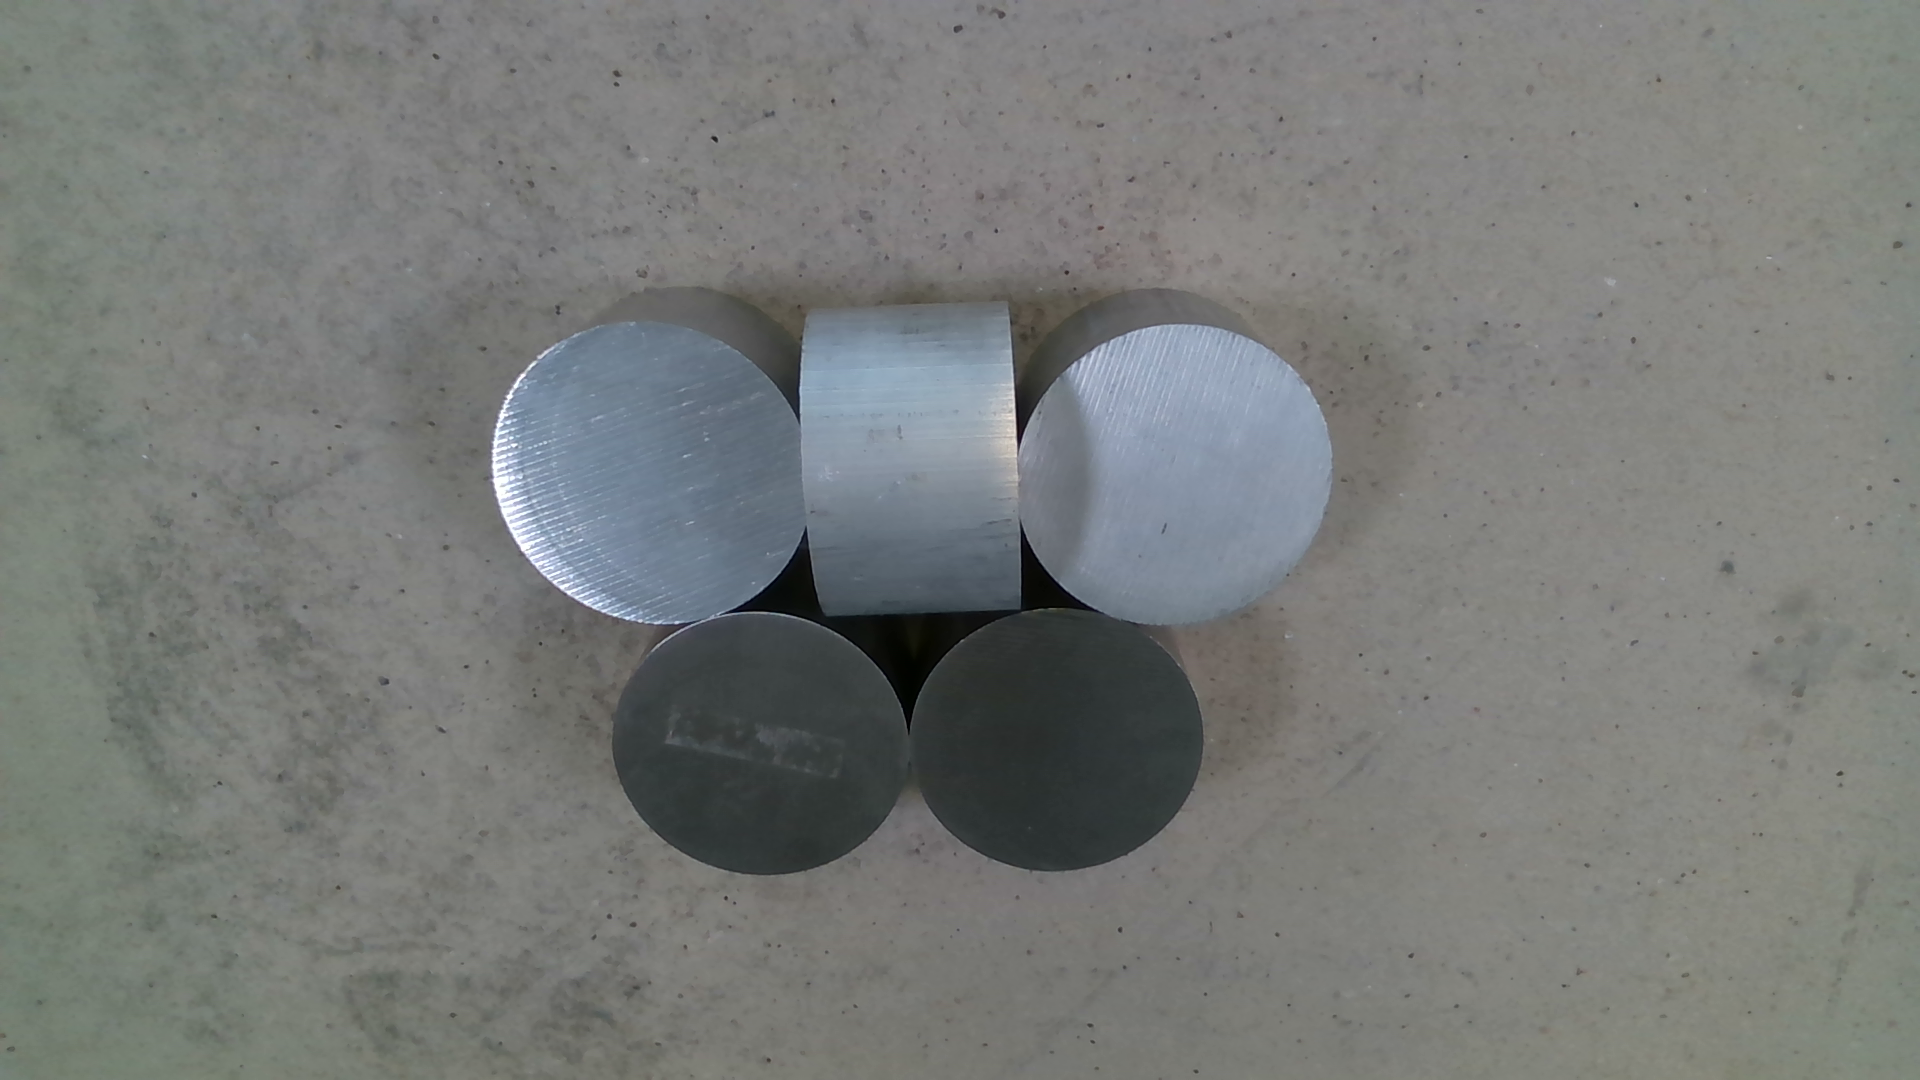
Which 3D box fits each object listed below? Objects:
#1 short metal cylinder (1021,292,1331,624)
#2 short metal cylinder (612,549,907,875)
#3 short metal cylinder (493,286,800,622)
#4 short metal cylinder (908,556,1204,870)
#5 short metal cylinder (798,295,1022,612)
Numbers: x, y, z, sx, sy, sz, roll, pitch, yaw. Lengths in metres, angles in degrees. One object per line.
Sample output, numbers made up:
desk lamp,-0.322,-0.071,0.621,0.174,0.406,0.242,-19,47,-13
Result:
short metal cylinder,0.054,-0.024,0.372,0.080,0.050,0.080,0,109,0
short metal cylinder,-0.054,0.048,0.397,0.080,0.050,0.080,0,109,0
short metal cylinder,-0.078,-0.024,0.371,0.080,0.050,0.080,0,109,0
short metal cylinder,0.026,0.047,0.397,0.080,0.050,0.080,0,110,0
short metal cylinder,-0.011,-0.022,0.356,0.050,0.080,0.080,-3,110,1
